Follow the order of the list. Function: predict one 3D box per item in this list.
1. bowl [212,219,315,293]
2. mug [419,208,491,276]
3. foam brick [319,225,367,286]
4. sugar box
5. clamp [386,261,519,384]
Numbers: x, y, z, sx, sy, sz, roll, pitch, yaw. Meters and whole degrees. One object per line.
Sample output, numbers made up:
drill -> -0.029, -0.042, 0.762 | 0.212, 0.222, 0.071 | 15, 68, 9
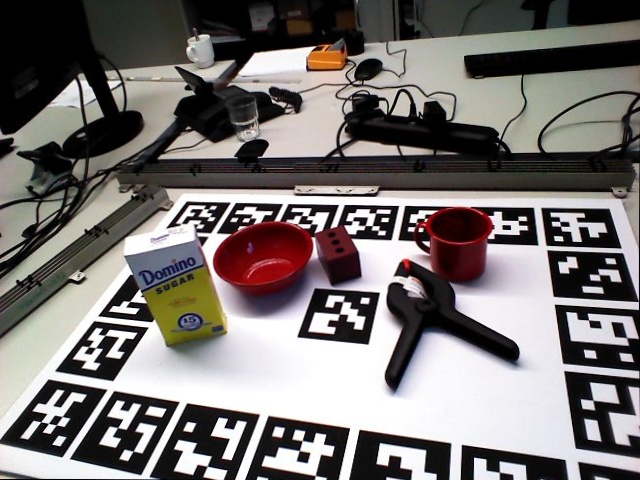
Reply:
bowl -> -0.084, 0.033, 0.818 | 0.162, 0.055, 0.161 | -7, 39, 5
mug -> 0.201, -0.006, 0.768 | 0.118, 0.082, 0.092 | 24, 50, 32
foam brick -> 0.036, 0.024, 0.811 | 0.053, 0.051, 0.078 | -17, 39, -5
sugar box -> -0.194, 0.068, 0.704 | 0.093, 0.177, 0.045 | -13, 40, -5
clamp -> 0.145, 0.088, 0.694 | 0.165, 0.037, 0.202 | -15, 39, -1
